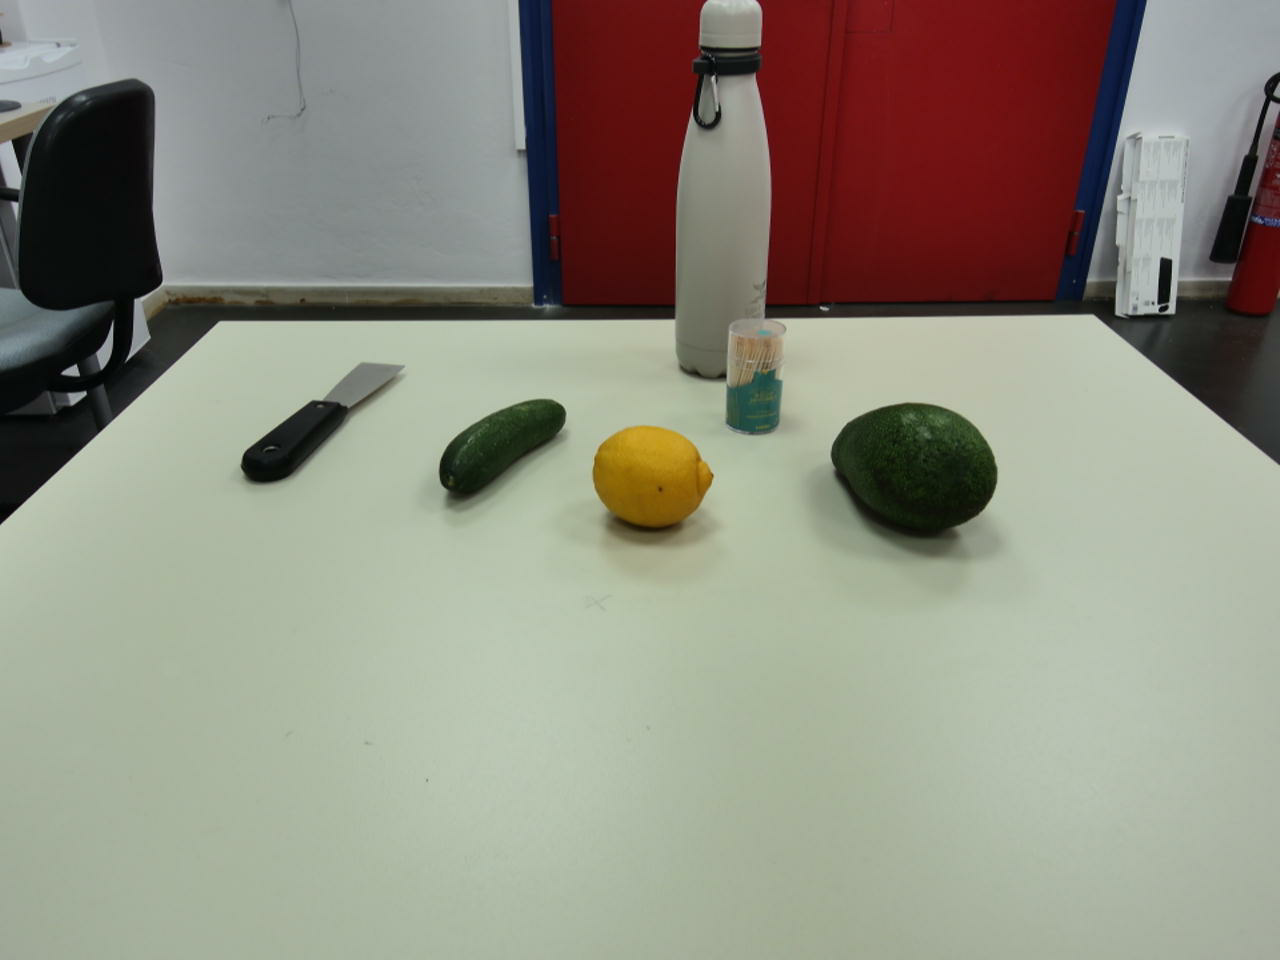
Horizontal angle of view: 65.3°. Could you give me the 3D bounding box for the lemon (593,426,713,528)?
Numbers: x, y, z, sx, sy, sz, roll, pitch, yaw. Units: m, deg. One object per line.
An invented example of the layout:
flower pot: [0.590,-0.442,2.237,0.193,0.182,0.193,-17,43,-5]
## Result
lemon: [0.006,-0.002,0.596,0.067,0.059,0.060,20,34,37]
